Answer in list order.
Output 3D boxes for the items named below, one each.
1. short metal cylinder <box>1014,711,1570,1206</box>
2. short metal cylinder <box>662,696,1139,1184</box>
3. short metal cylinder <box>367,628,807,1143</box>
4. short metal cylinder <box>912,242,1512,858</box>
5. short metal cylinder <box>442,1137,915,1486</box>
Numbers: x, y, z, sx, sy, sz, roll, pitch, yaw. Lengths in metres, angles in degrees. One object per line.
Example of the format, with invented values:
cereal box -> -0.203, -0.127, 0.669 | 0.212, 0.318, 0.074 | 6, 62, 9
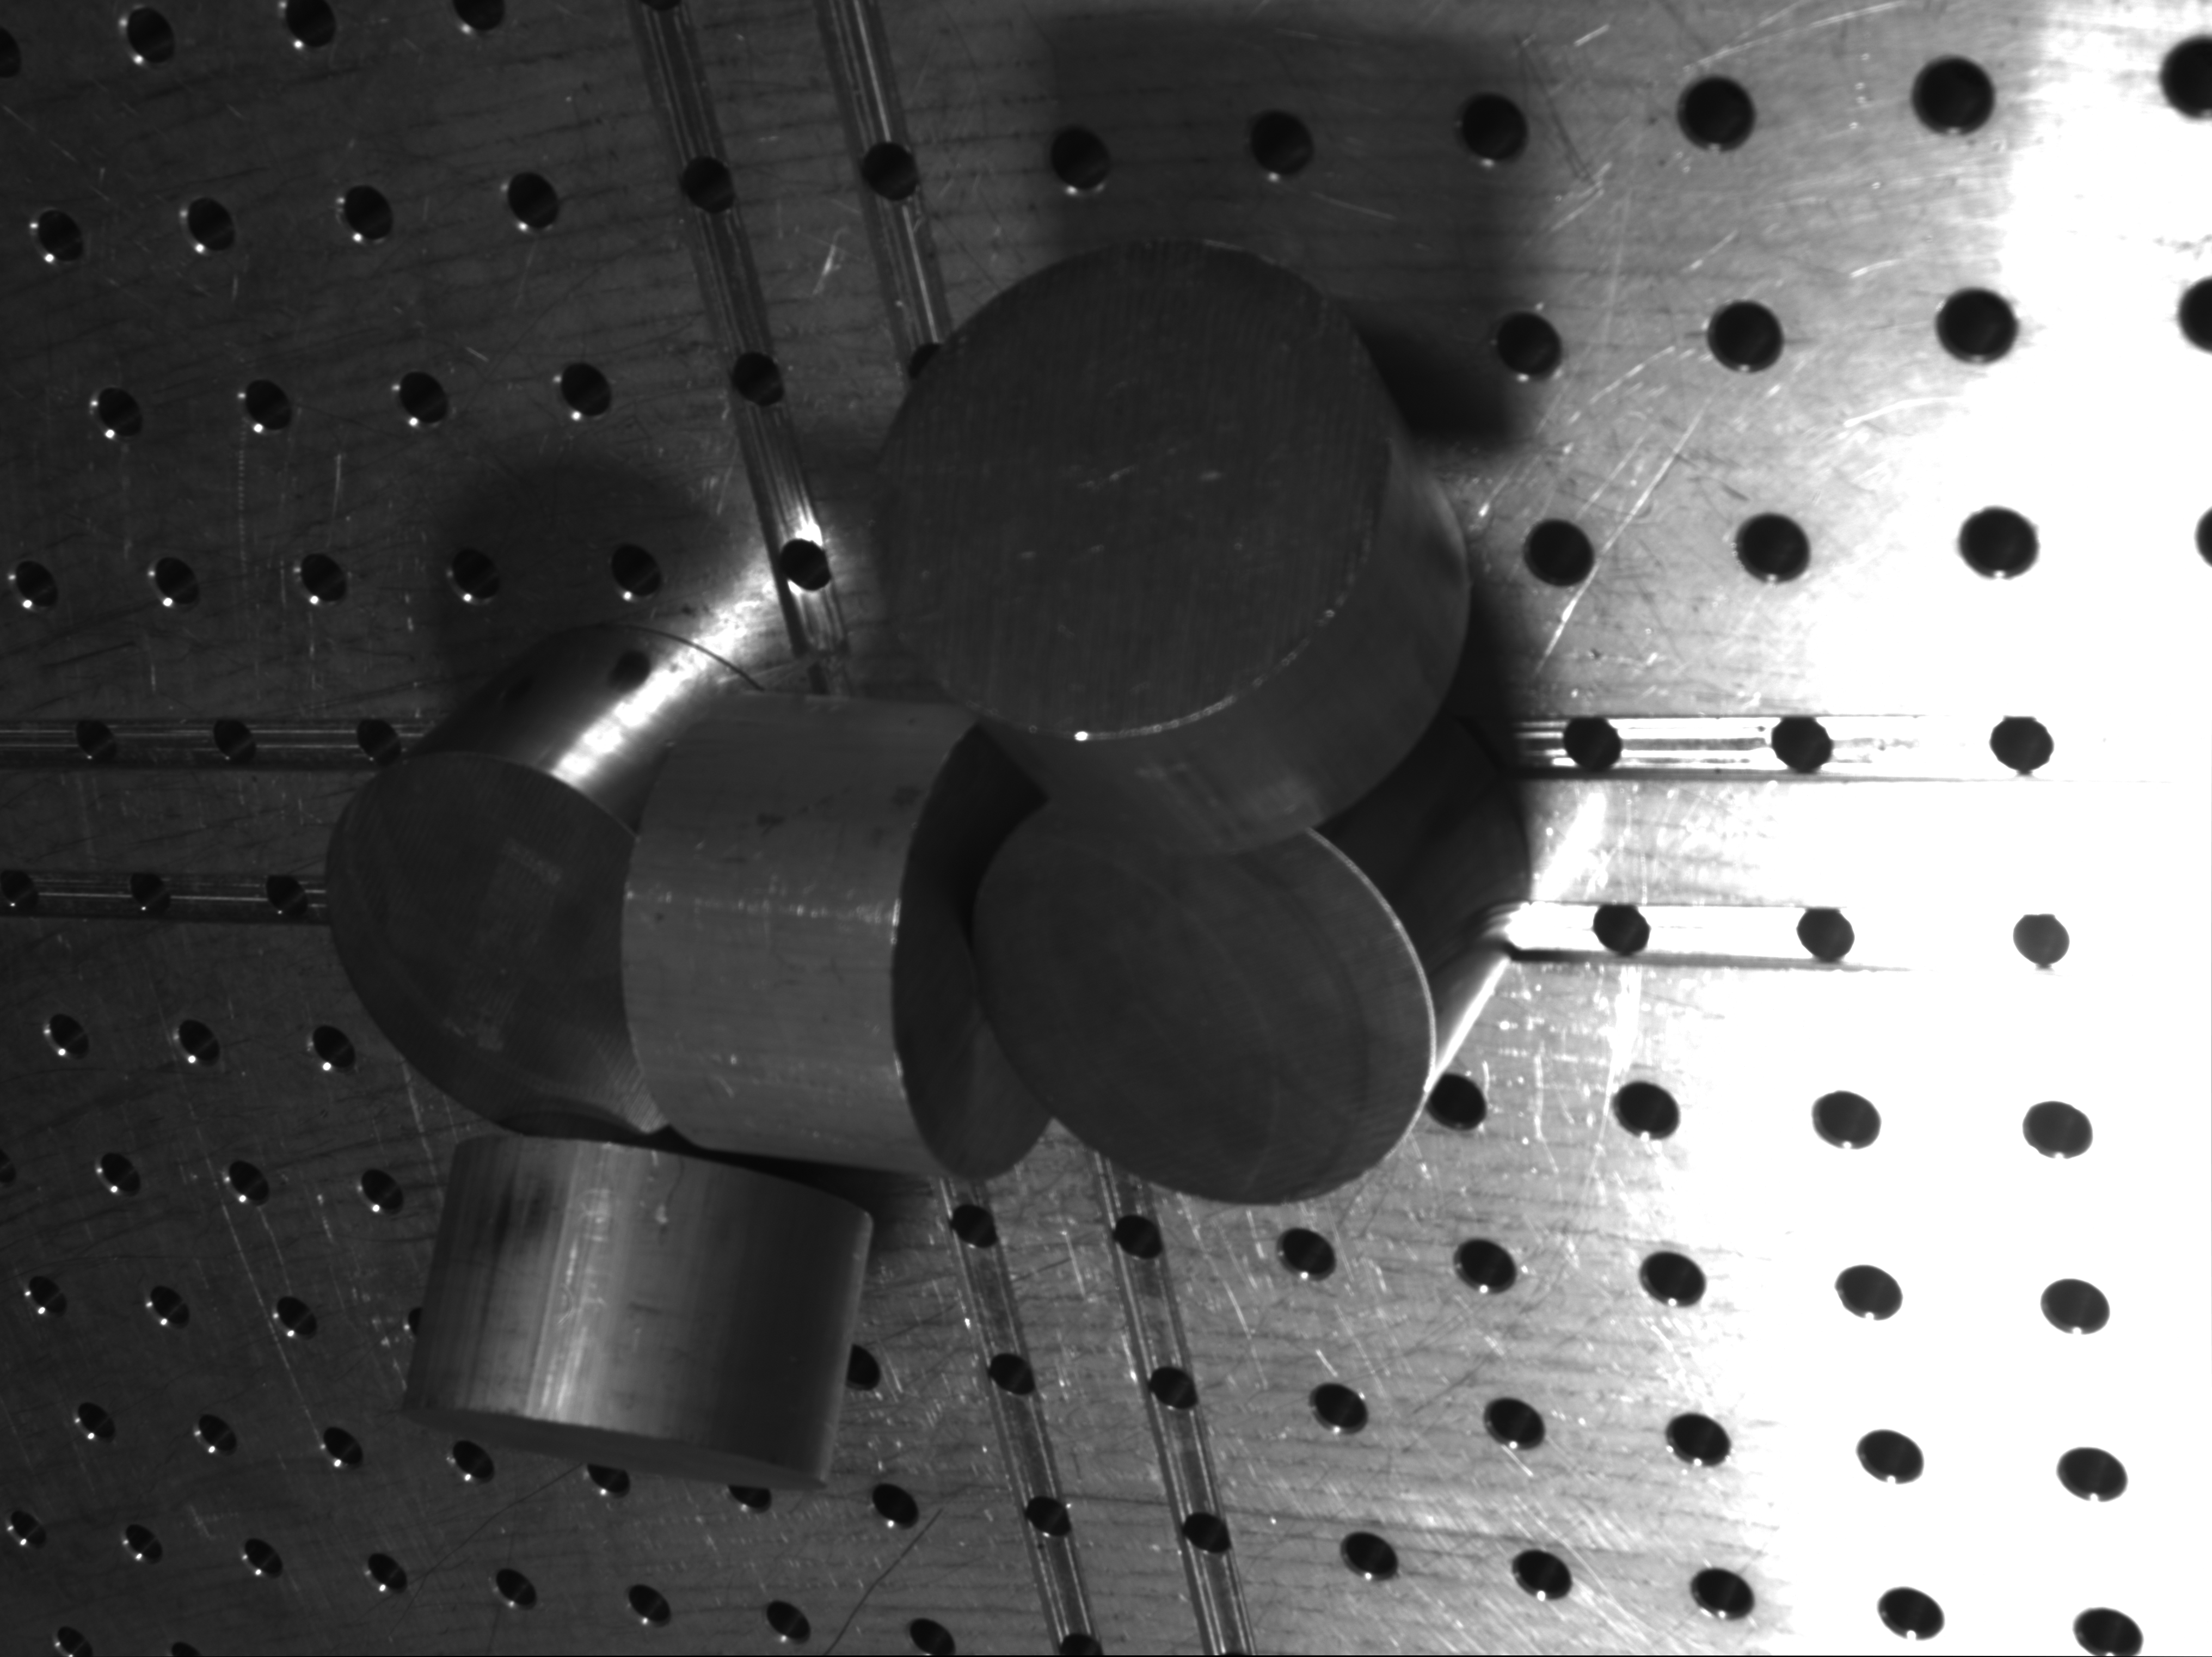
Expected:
short metal cylinder -> 0.031, 0.016, 0.611 | 0.080, 0.050, 0.080 | 12, 123, 20
short metal cylinder -> -0.033, 0.018, 0.627 | 0.050, 0.080, 0.080 | 5, 120, 24
short metal cylinder -> -0.087, 0.010, 0.667 | 0.080, 0.050, 0.080 | 12, 123, 20
short metal cylinder -> 0.017, -0.042, 0.557 | 0.080, 0.080, 0.050 | 8, 163, 22
short metal cylinder -> -0.080, 0.092, 0.687 | 0.080, 0.050, 0.080 | 9, 165, 3
